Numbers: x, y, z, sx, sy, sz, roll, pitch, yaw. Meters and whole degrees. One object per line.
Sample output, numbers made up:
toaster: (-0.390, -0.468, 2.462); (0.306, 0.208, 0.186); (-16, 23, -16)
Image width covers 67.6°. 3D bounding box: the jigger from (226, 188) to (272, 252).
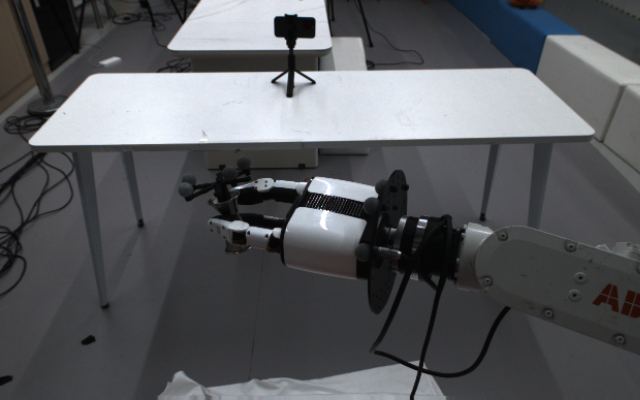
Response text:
jigger: (-0.105, 0.028, 0.594); (0.043, 0.071, 0.043); (-14, 21, 6)
